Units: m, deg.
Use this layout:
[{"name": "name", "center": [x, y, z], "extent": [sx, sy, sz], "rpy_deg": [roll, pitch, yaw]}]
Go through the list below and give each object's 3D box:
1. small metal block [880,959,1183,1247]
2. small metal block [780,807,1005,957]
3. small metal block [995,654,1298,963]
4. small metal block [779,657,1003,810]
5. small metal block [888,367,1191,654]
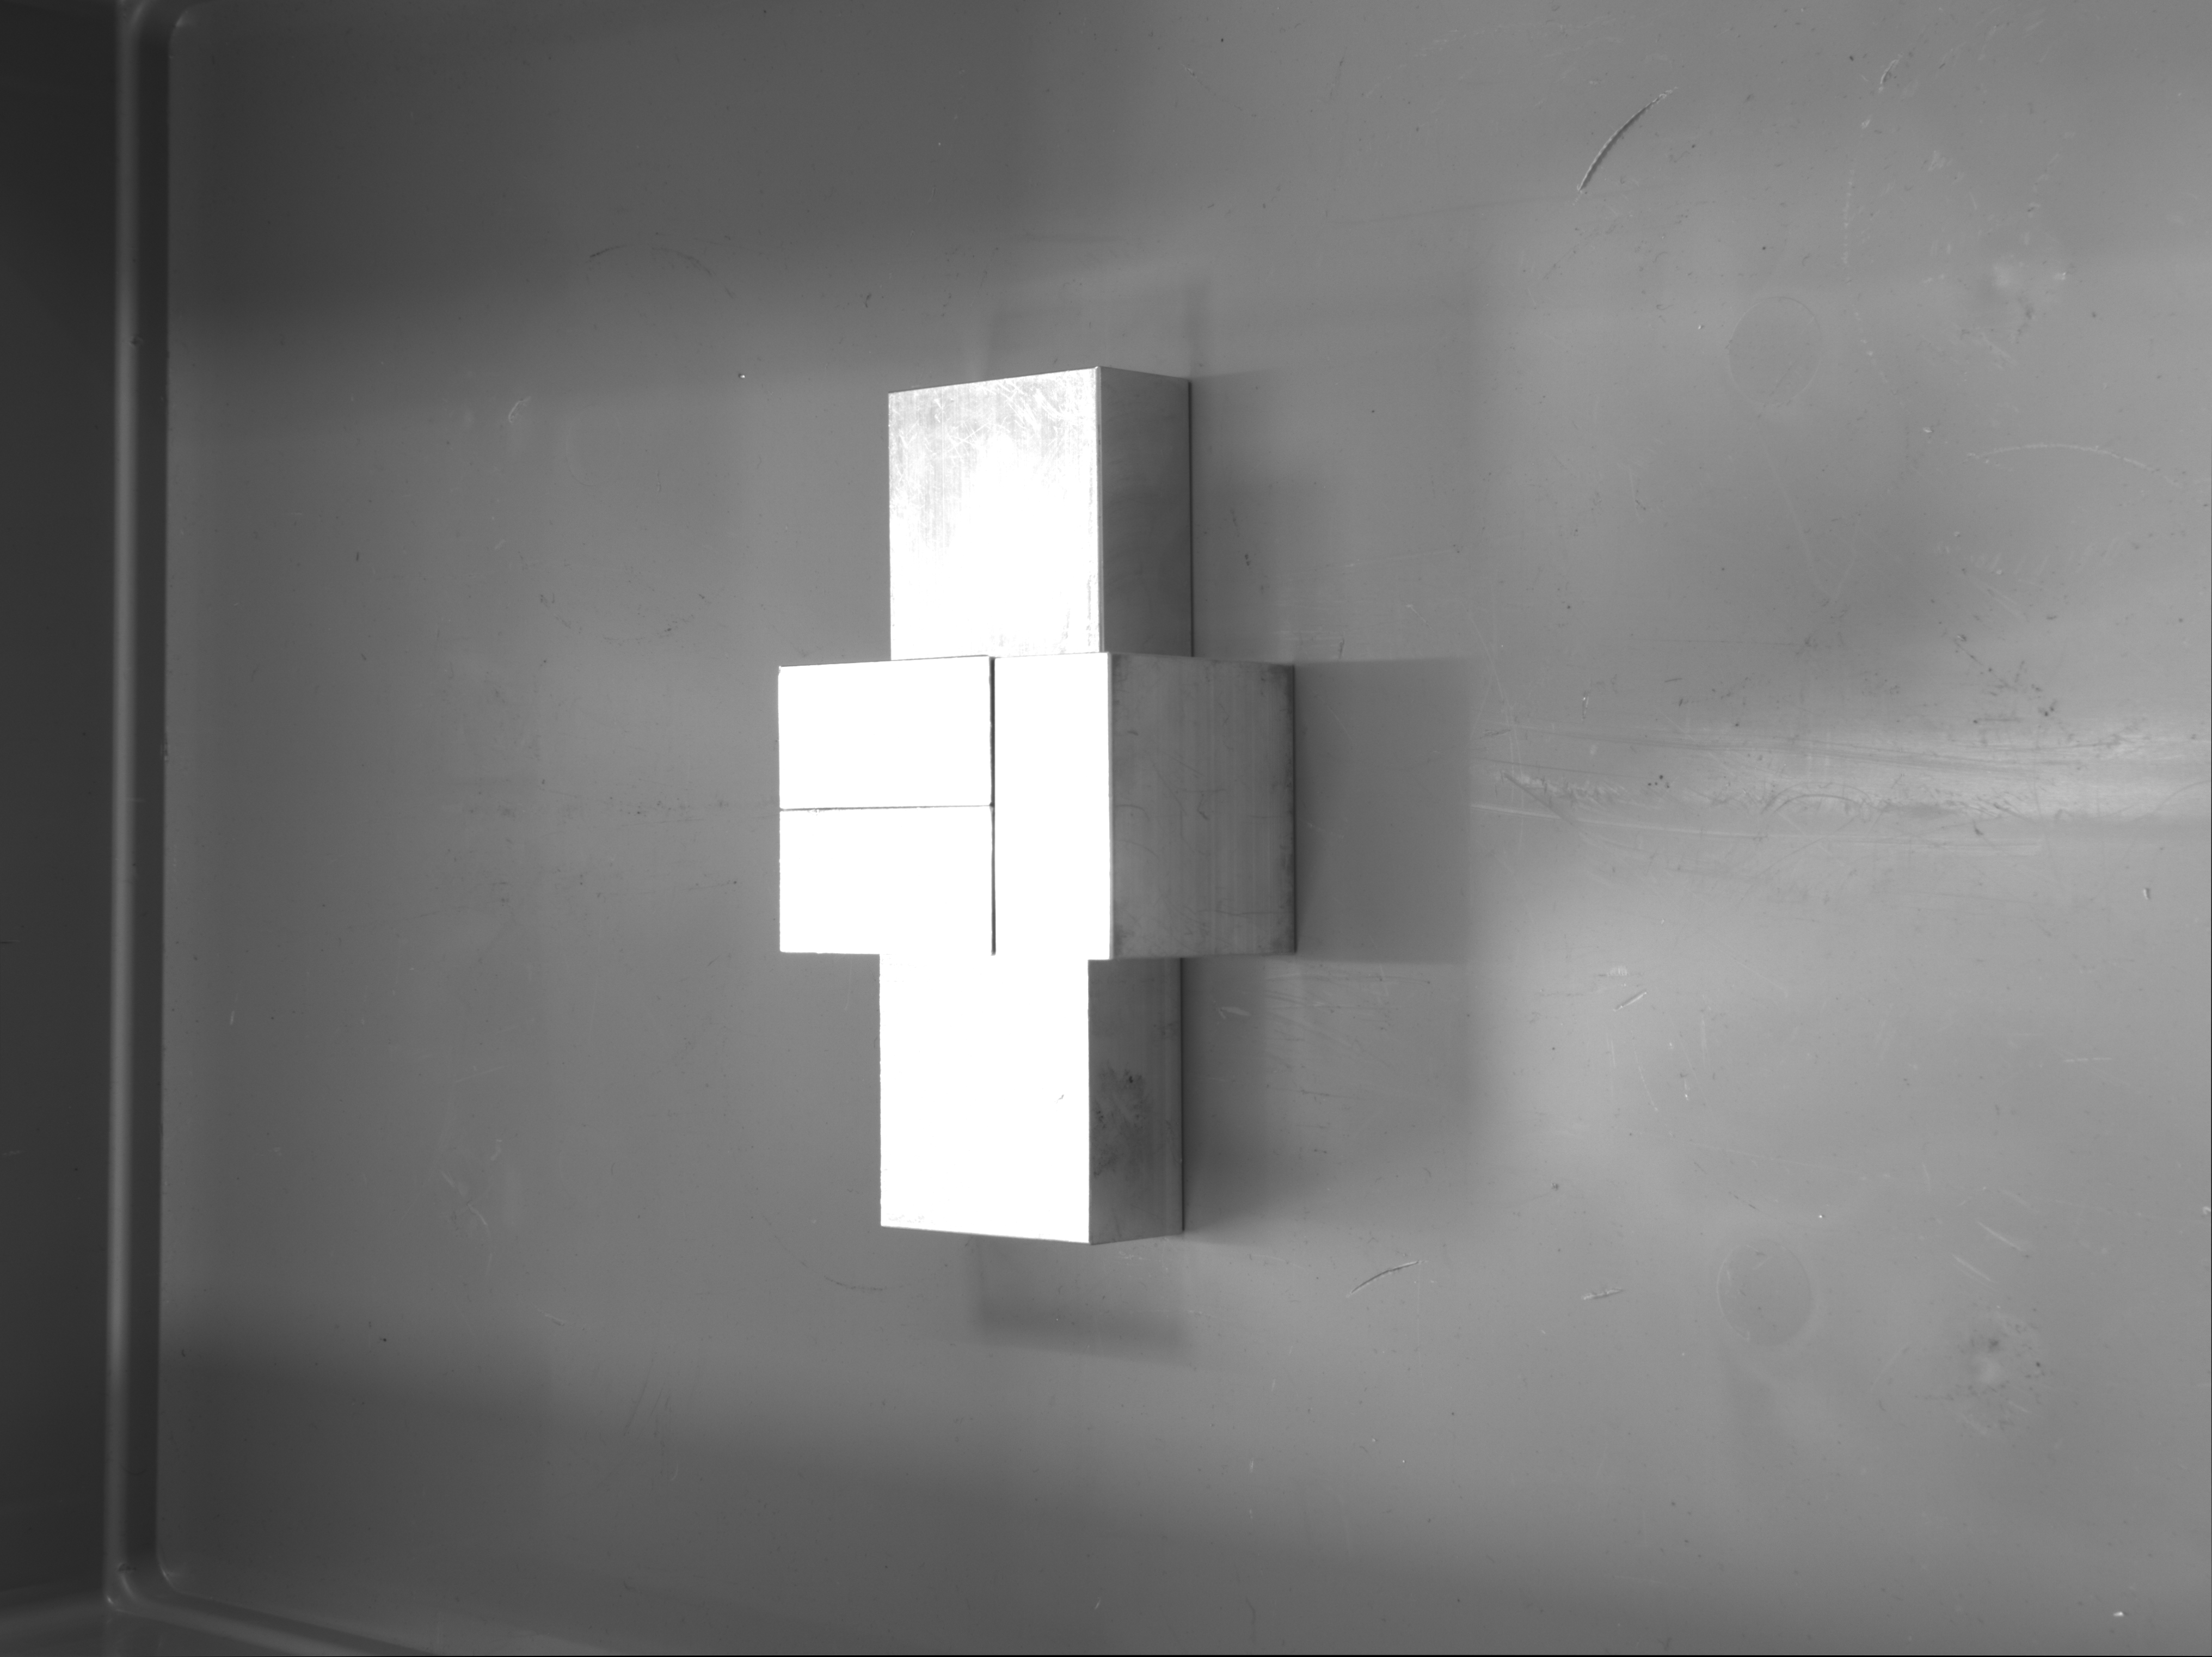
[{"name": "small metal block", "center": [-0.014, 0.047, 0.655], "extent": [0.050, 0.025, 0.050], "rpy_deg": [0, 90, 40]}, {"name": "small metal block", "center": [-0.022, 0.009, 0.645], "extent": [0.050, 0.050, 0.025], "rpy_deg": [0, 90, 40]}, {"name": "small metal block", "center": [0.007, -0.003, 0.621], "extent": [0.025, 0.050, 0.050], "rpy_deg": [0, 90, 40]}, {"name": "small metal block", "center": [-0.022, -0.016, 0.646], "extent": [0.050, 0.050, 0.025], "rpy_deg": [0, 90, 40]}, {"name": "small metal block", "center": [-0.012, -0.054, 0.654], "extent": [0.050, 0.025, 0.050], "rpy_deg": [0, 90, 40]}]
